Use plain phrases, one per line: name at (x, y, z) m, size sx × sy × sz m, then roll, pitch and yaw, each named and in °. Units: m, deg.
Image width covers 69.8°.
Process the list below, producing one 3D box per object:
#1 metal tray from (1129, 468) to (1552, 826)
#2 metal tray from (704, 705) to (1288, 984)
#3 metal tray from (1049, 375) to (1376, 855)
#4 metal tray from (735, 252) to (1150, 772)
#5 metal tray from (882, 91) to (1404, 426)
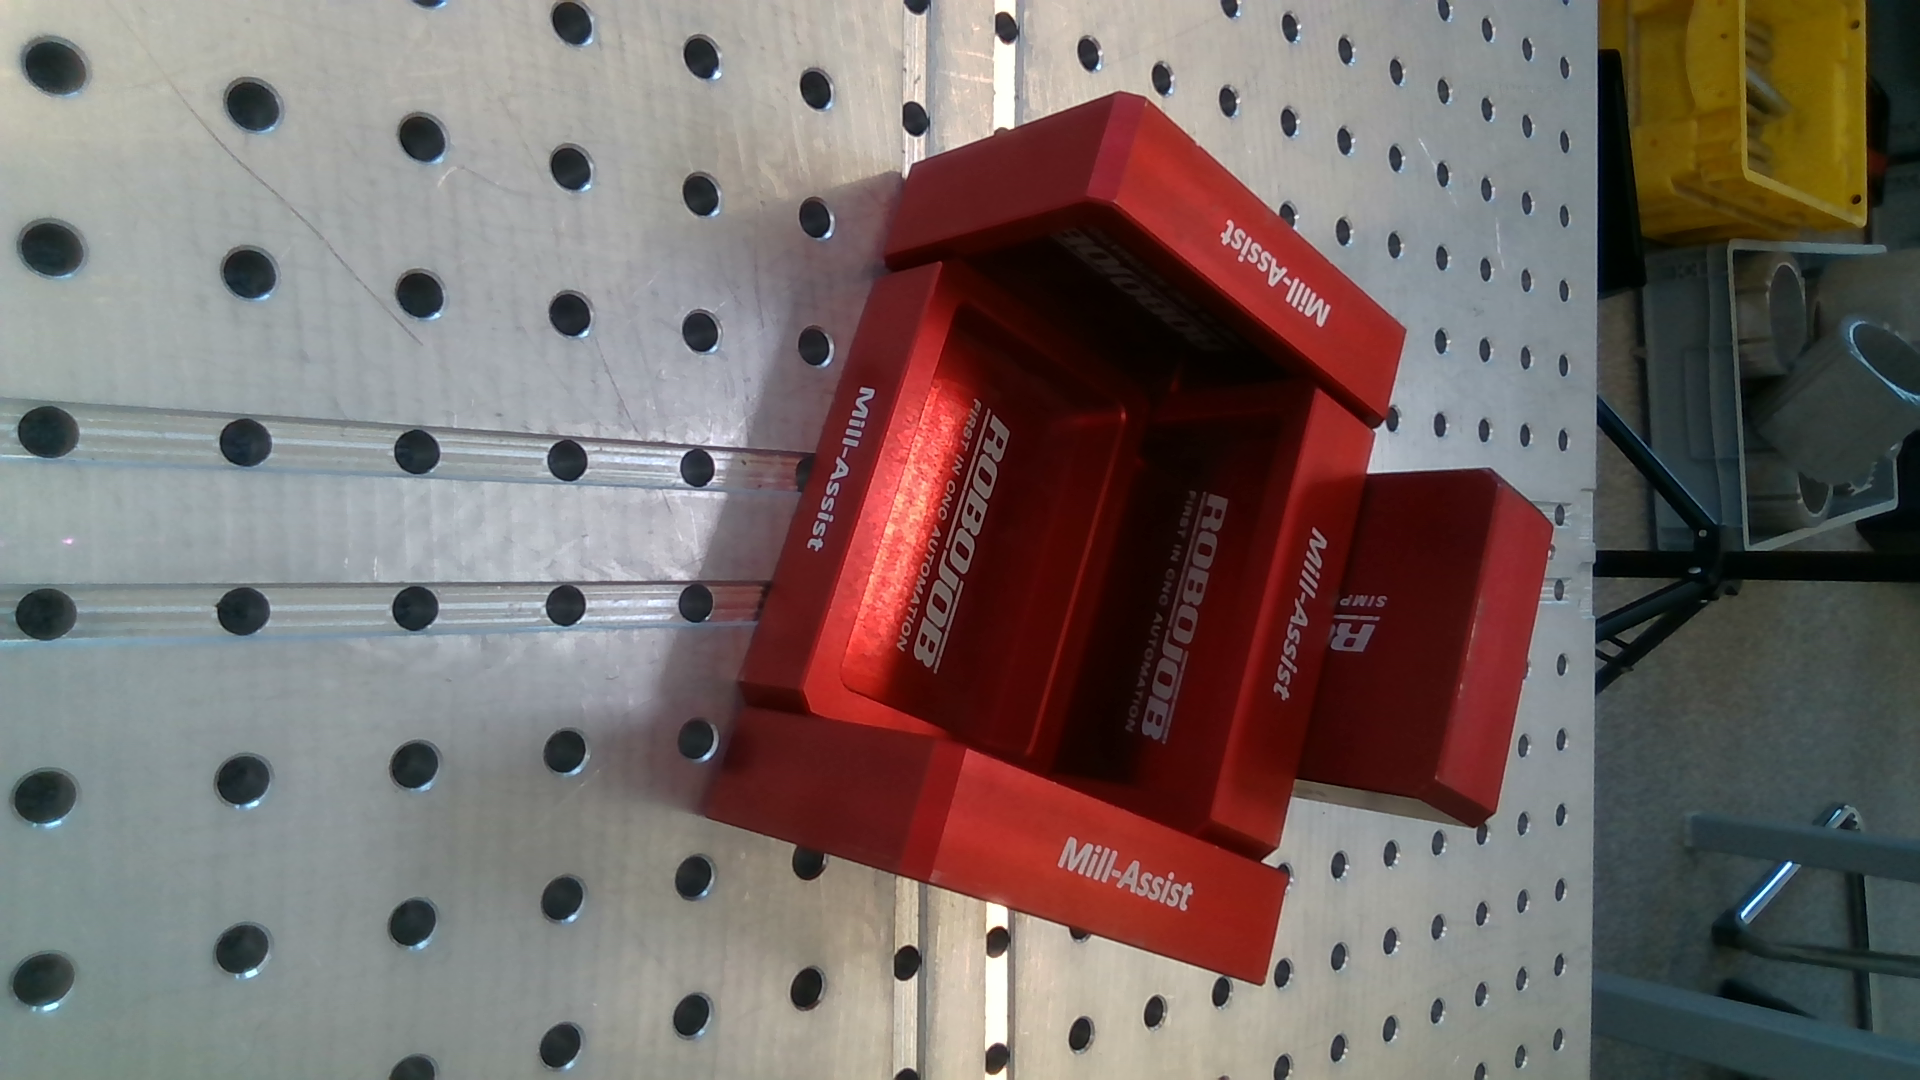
metal tray at (0.098, 0.028, 0.407) m, size 0.030 × 0.130 × 0.090 m, roll 28°, pitch 72°, yaw -36°
metal tray at (0.011, 0.080, 0.360) m, size 0.130 × 0.090 × 0.030 m, roll 27°, pitch 73°, yaw -37°
metal tray at (0.062, 0.020, 0.404) m, size 0.030 × 0.090 × 0.130 m, roll 27°, pitch 73°, yaw -36°
metal tray at (0.000, -0.002, 0.390) m, size 0.090 × 0.030 × 0.130 m, roll 28°, pitch 73°, yaw -37°
metal tray at (0.054, -0.071, 0.396) m, size 0.130 × 0.090 × 0.030 m, roll 28°, pitch 73°, yaw -37°
